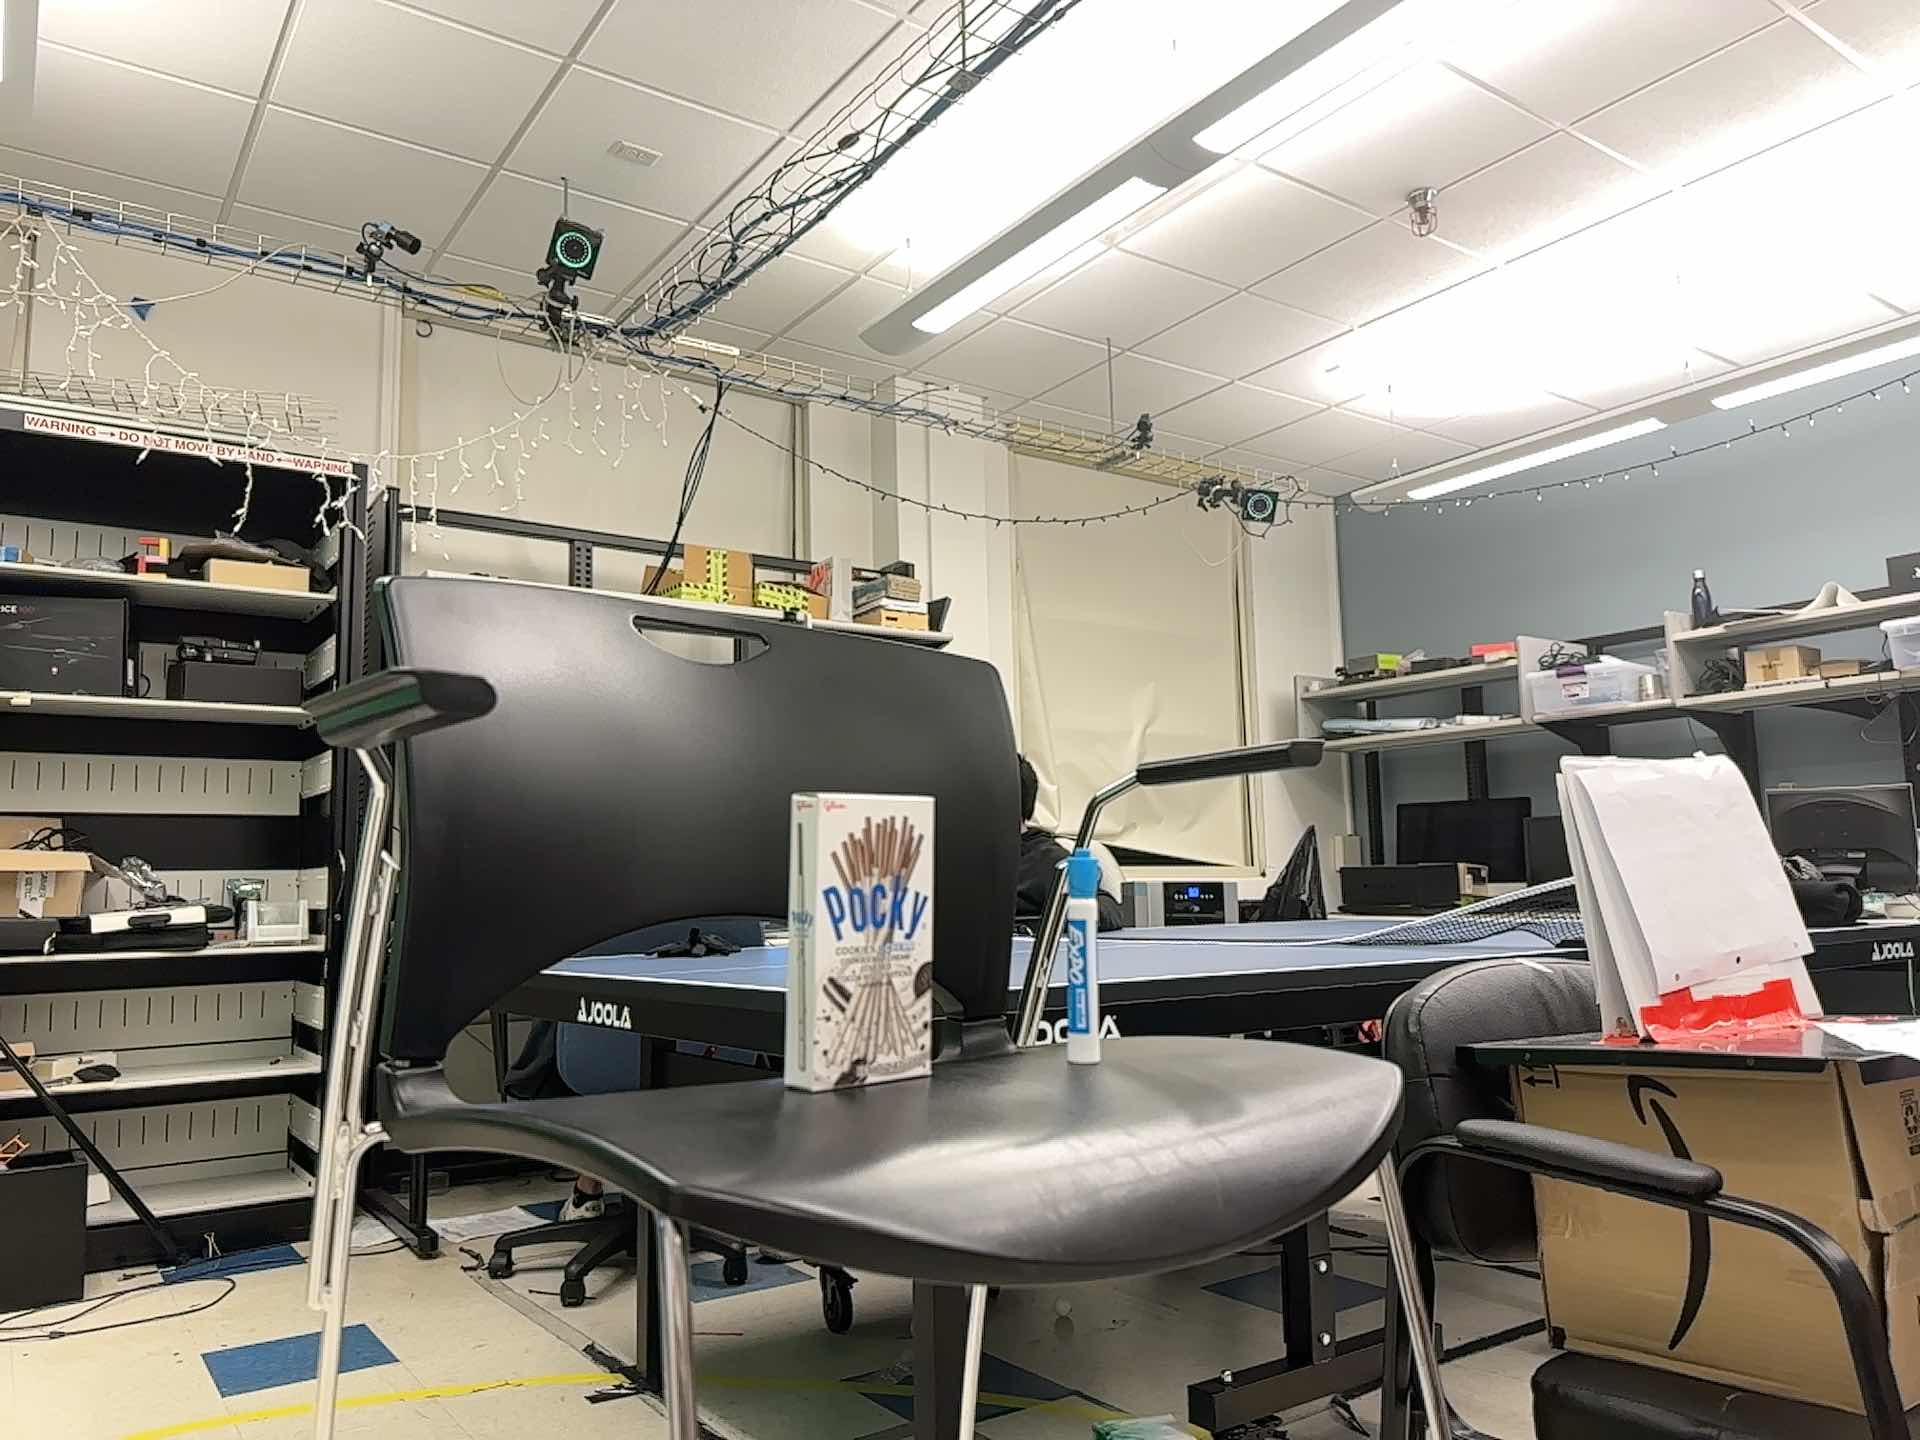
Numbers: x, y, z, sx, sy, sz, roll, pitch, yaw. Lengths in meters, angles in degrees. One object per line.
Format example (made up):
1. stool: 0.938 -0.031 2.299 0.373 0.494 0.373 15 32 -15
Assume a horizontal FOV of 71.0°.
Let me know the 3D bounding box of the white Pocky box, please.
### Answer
1. white Pocky box: -0.053 0.116 0.713 0.084 0.154 0.028 4 -6 -41

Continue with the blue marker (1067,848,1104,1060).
1. blue marker: 0.073 0.135 0.785 0.020 0.121 0.020 -1 -3 0
